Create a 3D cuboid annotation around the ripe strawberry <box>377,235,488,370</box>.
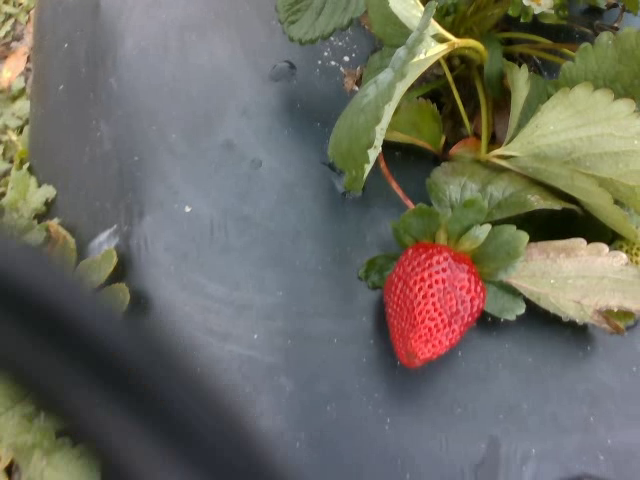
[{"bbox_3d":[0.041,0.028,0.251,0.046,0.049,0.064,-30,19,42],"label":"ripe strawberry"}]
